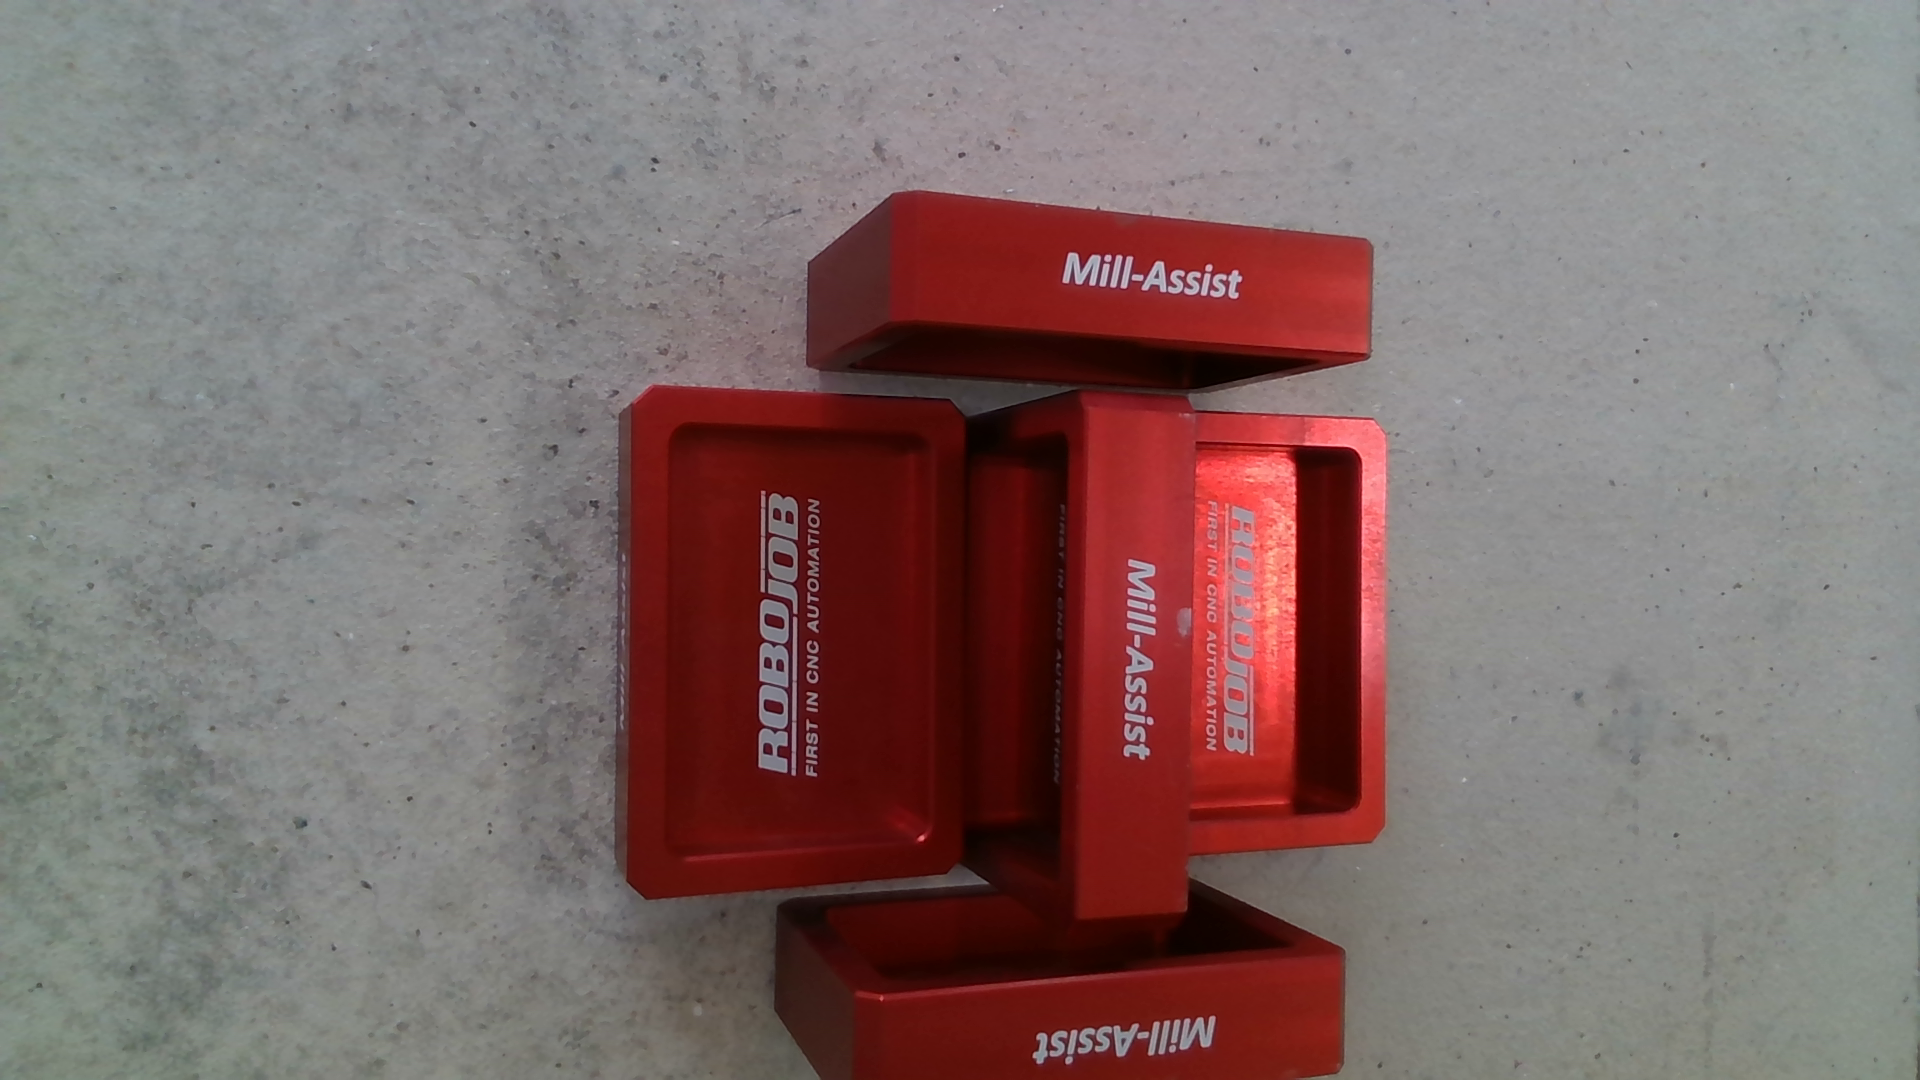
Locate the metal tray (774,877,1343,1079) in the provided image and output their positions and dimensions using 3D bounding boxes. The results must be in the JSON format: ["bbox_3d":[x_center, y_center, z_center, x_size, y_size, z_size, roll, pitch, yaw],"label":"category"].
[{"bbox_3d":[0.023,0.117,0.368,0.130,0.090,0.030,1,89,-20],"label":"metal tray"}]

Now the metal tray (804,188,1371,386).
[{"bbox_3d":[0.031,-0.063,0.371,0.130,0.090,0.030,1,90,-20],"label":"metal tray"}]

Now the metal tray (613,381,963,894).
[{"bbox_3d":[-0.047,0.025,0.376,0.090,0.030,0.130,1,90,-21],"label":"metal tray"}]

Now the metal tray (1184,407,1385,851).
[{"bbox_3d":[0.083,0.026,0.422,0.090,0.030,0.130,0,90,-17],"label":"metal tray"}]

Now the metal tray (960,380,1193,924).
[{"bbox_3d":[0.027,0.027,0.371,0.030,0.090,0.130,1,90,-19],"label":"metal tray"}]
